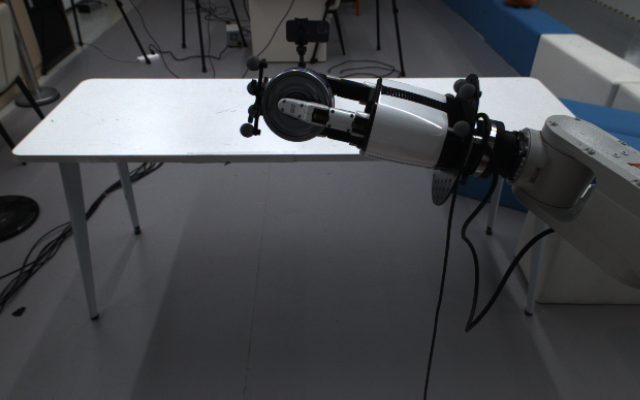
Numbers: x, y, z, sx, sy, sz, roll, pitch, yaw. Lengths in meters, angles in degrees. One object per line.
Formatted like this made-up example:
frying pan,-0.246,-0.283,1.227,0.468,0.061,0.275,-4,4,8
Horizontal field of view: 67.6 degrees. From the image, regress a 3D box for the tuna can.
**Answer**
tuna can,-0.025,-0.116,0.581,0.085,0.085,0.034,4,18,3
